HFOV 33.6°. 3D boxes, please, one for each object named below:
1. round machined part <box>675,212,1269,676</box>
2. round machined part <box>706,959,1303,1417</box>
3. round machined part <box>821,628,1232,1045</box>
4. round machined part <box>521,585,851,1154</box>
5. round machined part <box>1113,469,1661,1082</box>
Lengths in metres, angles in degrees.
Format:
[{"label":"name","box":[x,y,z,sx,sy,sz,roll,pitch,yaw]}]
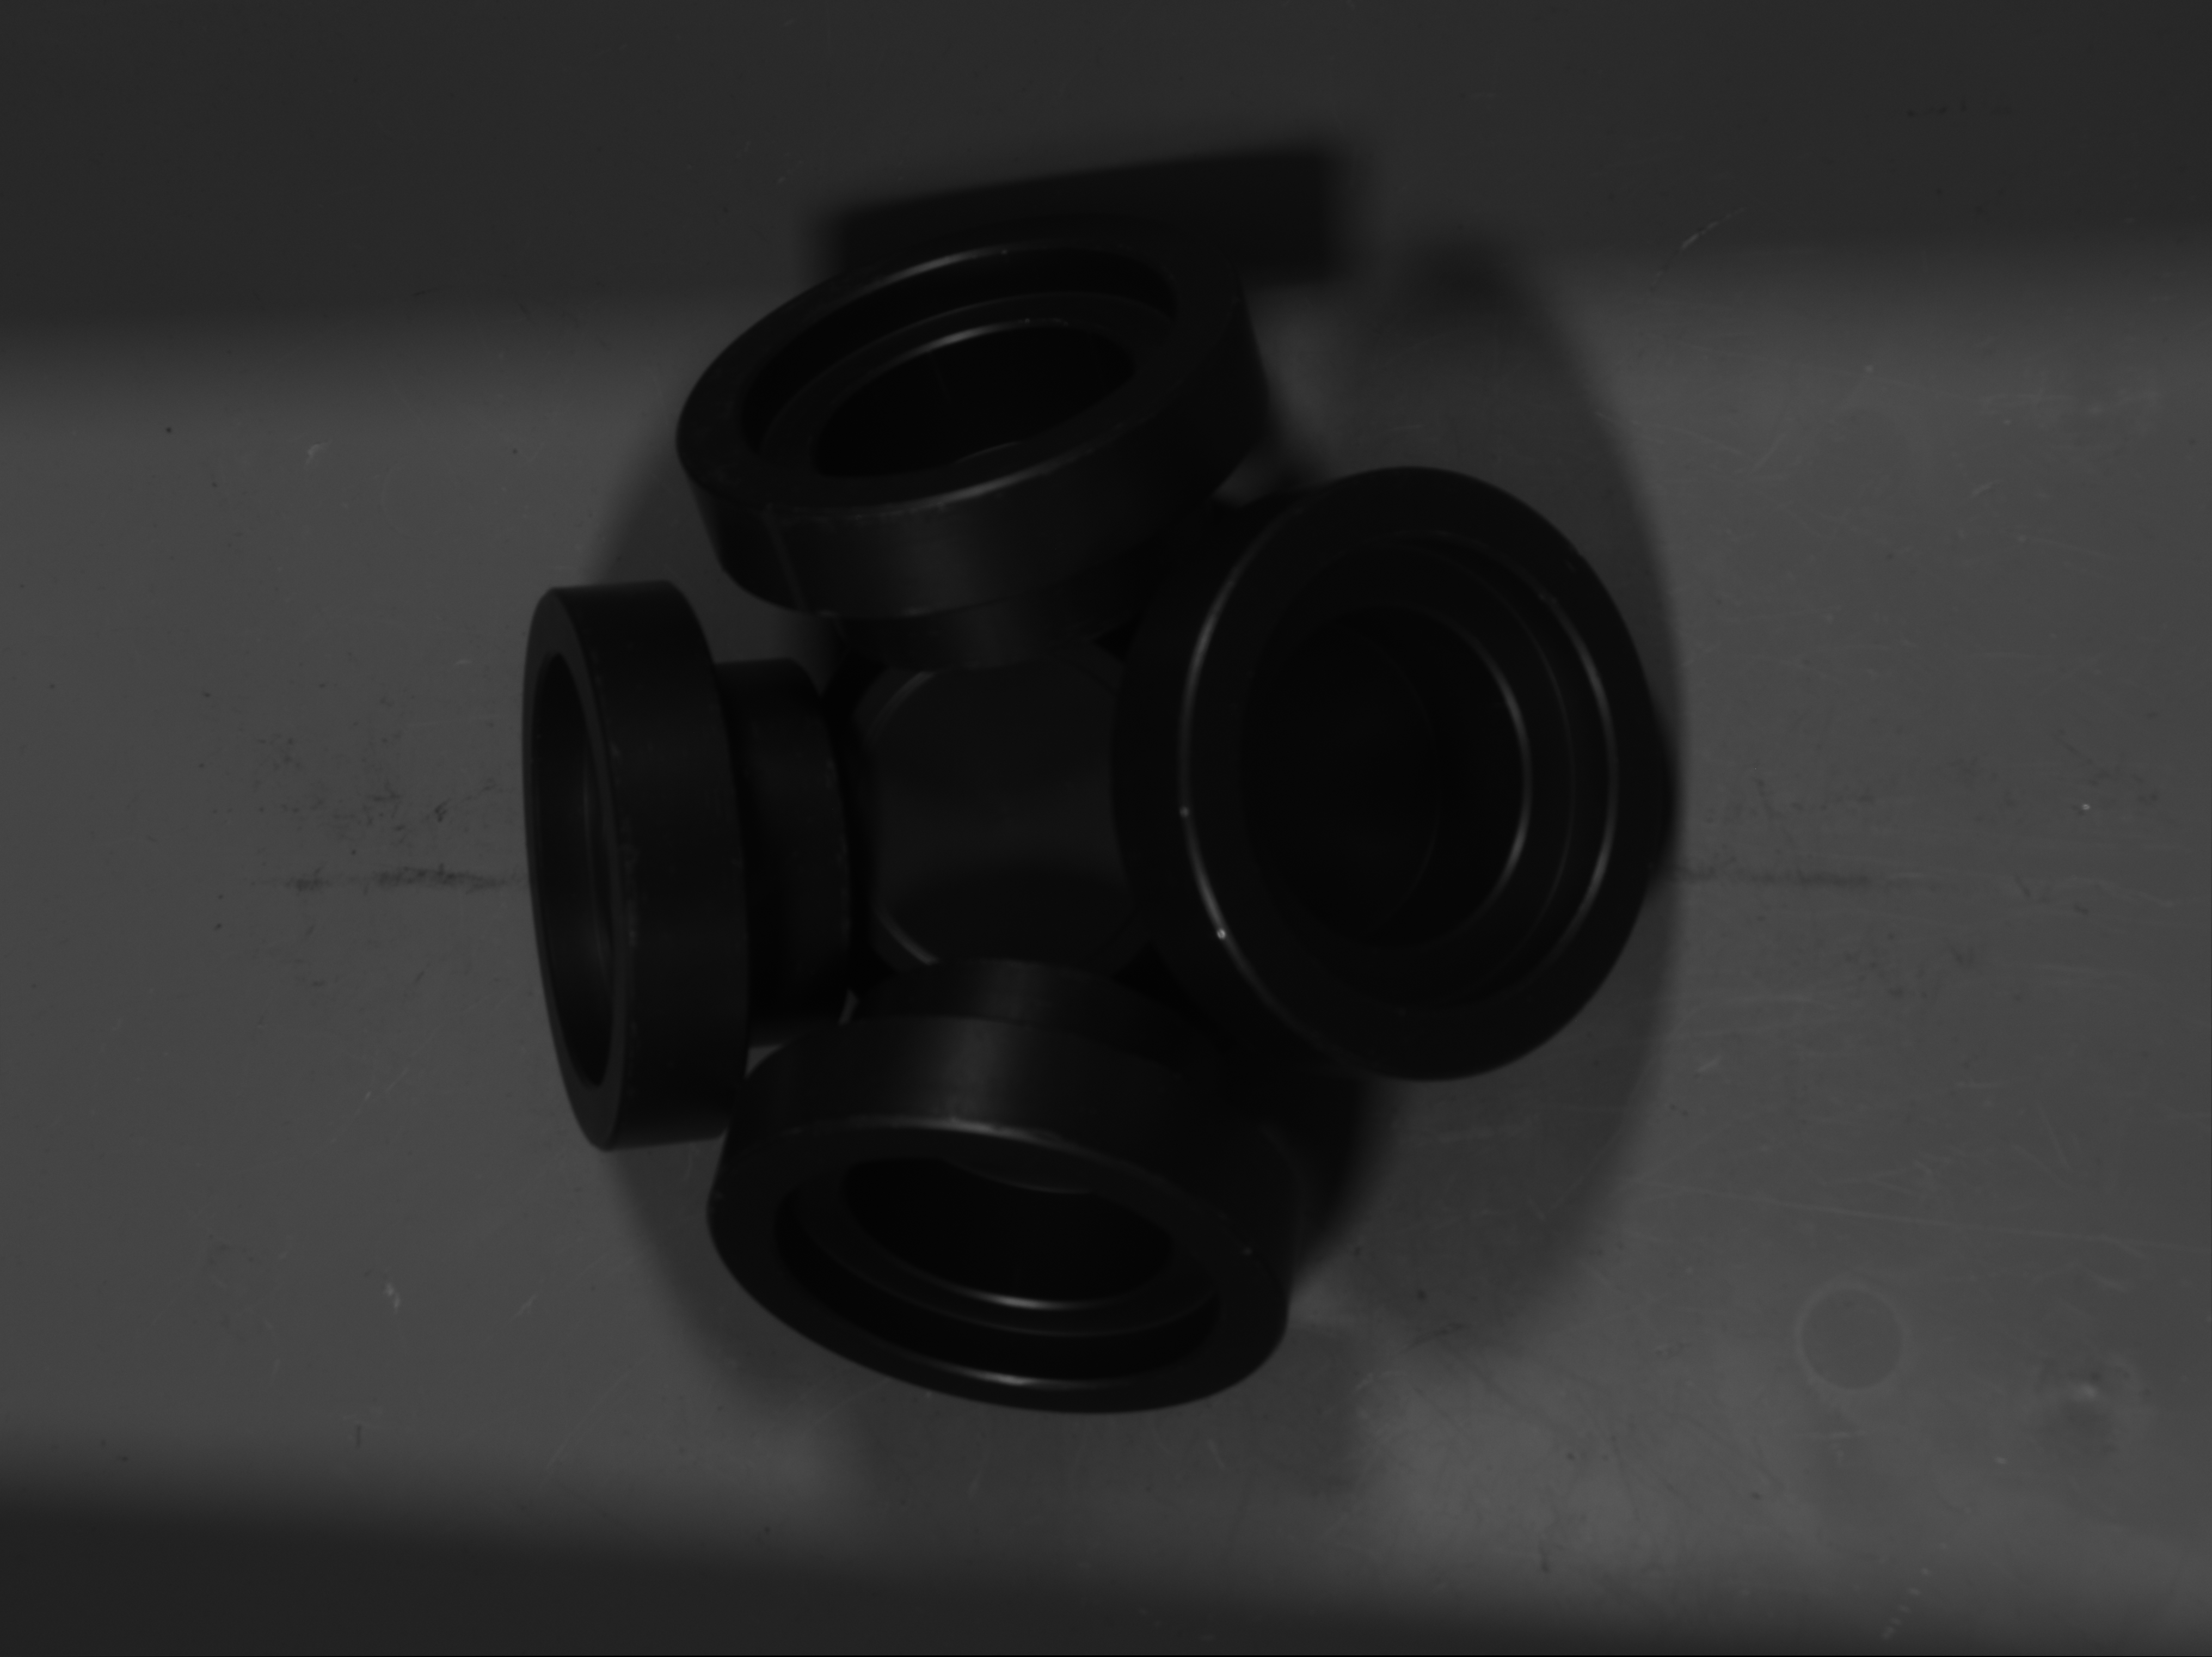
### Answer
[{"label":"round machined part","box":[-0.020,-0.062,0.621,0.098,0.098,0.042,-4,126,20]},{"label":"round machined part","box":[-0.015,0.058,0.619,0.098,0.098,0.042,-1,53,20]},{"label":"round machined part","box":[-0.010,-0.002,0.637,0.098,0.042,0.098,0,90,20]},{"label":"round machined part","box":[-0.073,0.006,0.640,0.042,0.098,0.098,-5,88,-18]},{"label":"round machined part","box":[0.041,-0.008,0.601,0.042,0.098,0.098,-4,88,56]}]
